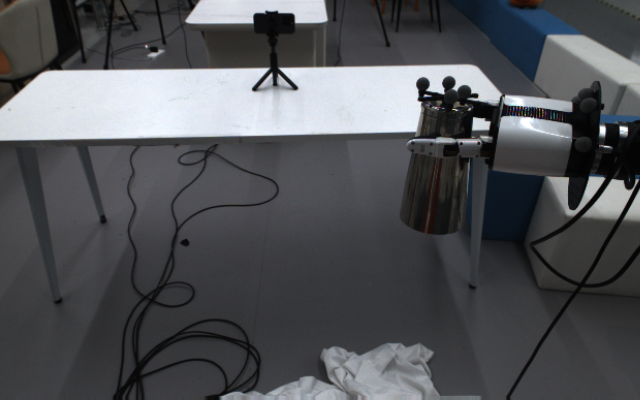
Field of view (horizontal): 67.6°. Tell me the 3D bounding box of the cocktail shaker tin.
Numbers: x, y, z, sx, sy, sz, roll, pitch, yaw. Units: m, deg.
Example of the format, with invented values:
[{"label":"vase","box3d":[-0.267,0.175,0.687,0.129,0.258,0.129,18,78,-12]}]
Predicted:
[{"label":"cocktail shaker tin","box3d":[0.167,-0.053,0.668,0.093,0.170,0.093,1,27,-1]}]
